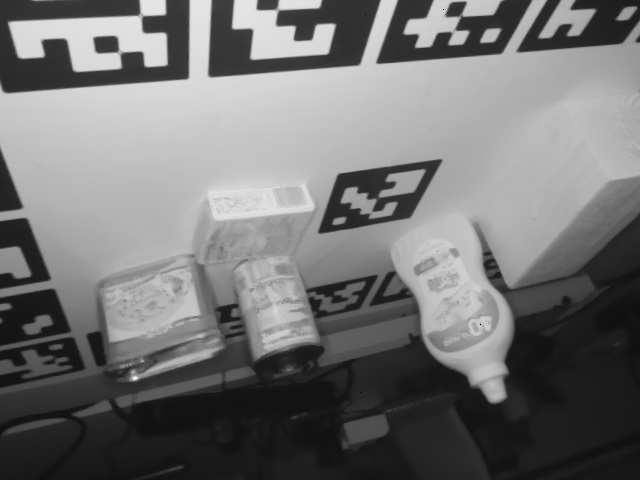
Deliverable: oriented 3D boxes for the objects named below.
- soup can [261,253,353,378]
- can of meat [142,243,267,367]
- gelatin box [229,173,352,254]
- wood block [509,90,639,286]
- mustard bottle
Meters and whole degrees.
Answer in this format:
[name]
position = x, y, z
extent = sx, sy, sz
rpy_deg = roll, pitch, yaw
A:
[soup can]
position = -0.013, 0.072, 0.669
extent = 0.068, 0.102, 0.067
rpy_deg = -14, 147, -9
[can of meat]
position = -0.107, 0.058, 0.630
extent = 0.102, 0.084, 0.057
rpy_deg = -14, 148, -4
[gelatin box]
position = -0.025, -0.023, 0.590
extent = 0.091, 0.030, 0.072
rpy_deg = -4, 144, -27
[wood block]
position = 0.279, -0.044, 0.677
extent = 0.092, 0.090, 0.203
rpy_deg = -7, 151, -17
[mustard bottle]
position = 0.181, 0.067, 0.707
extent = 0.096, 0.192, 0.058
rpy_deg = -20, 150, 6
